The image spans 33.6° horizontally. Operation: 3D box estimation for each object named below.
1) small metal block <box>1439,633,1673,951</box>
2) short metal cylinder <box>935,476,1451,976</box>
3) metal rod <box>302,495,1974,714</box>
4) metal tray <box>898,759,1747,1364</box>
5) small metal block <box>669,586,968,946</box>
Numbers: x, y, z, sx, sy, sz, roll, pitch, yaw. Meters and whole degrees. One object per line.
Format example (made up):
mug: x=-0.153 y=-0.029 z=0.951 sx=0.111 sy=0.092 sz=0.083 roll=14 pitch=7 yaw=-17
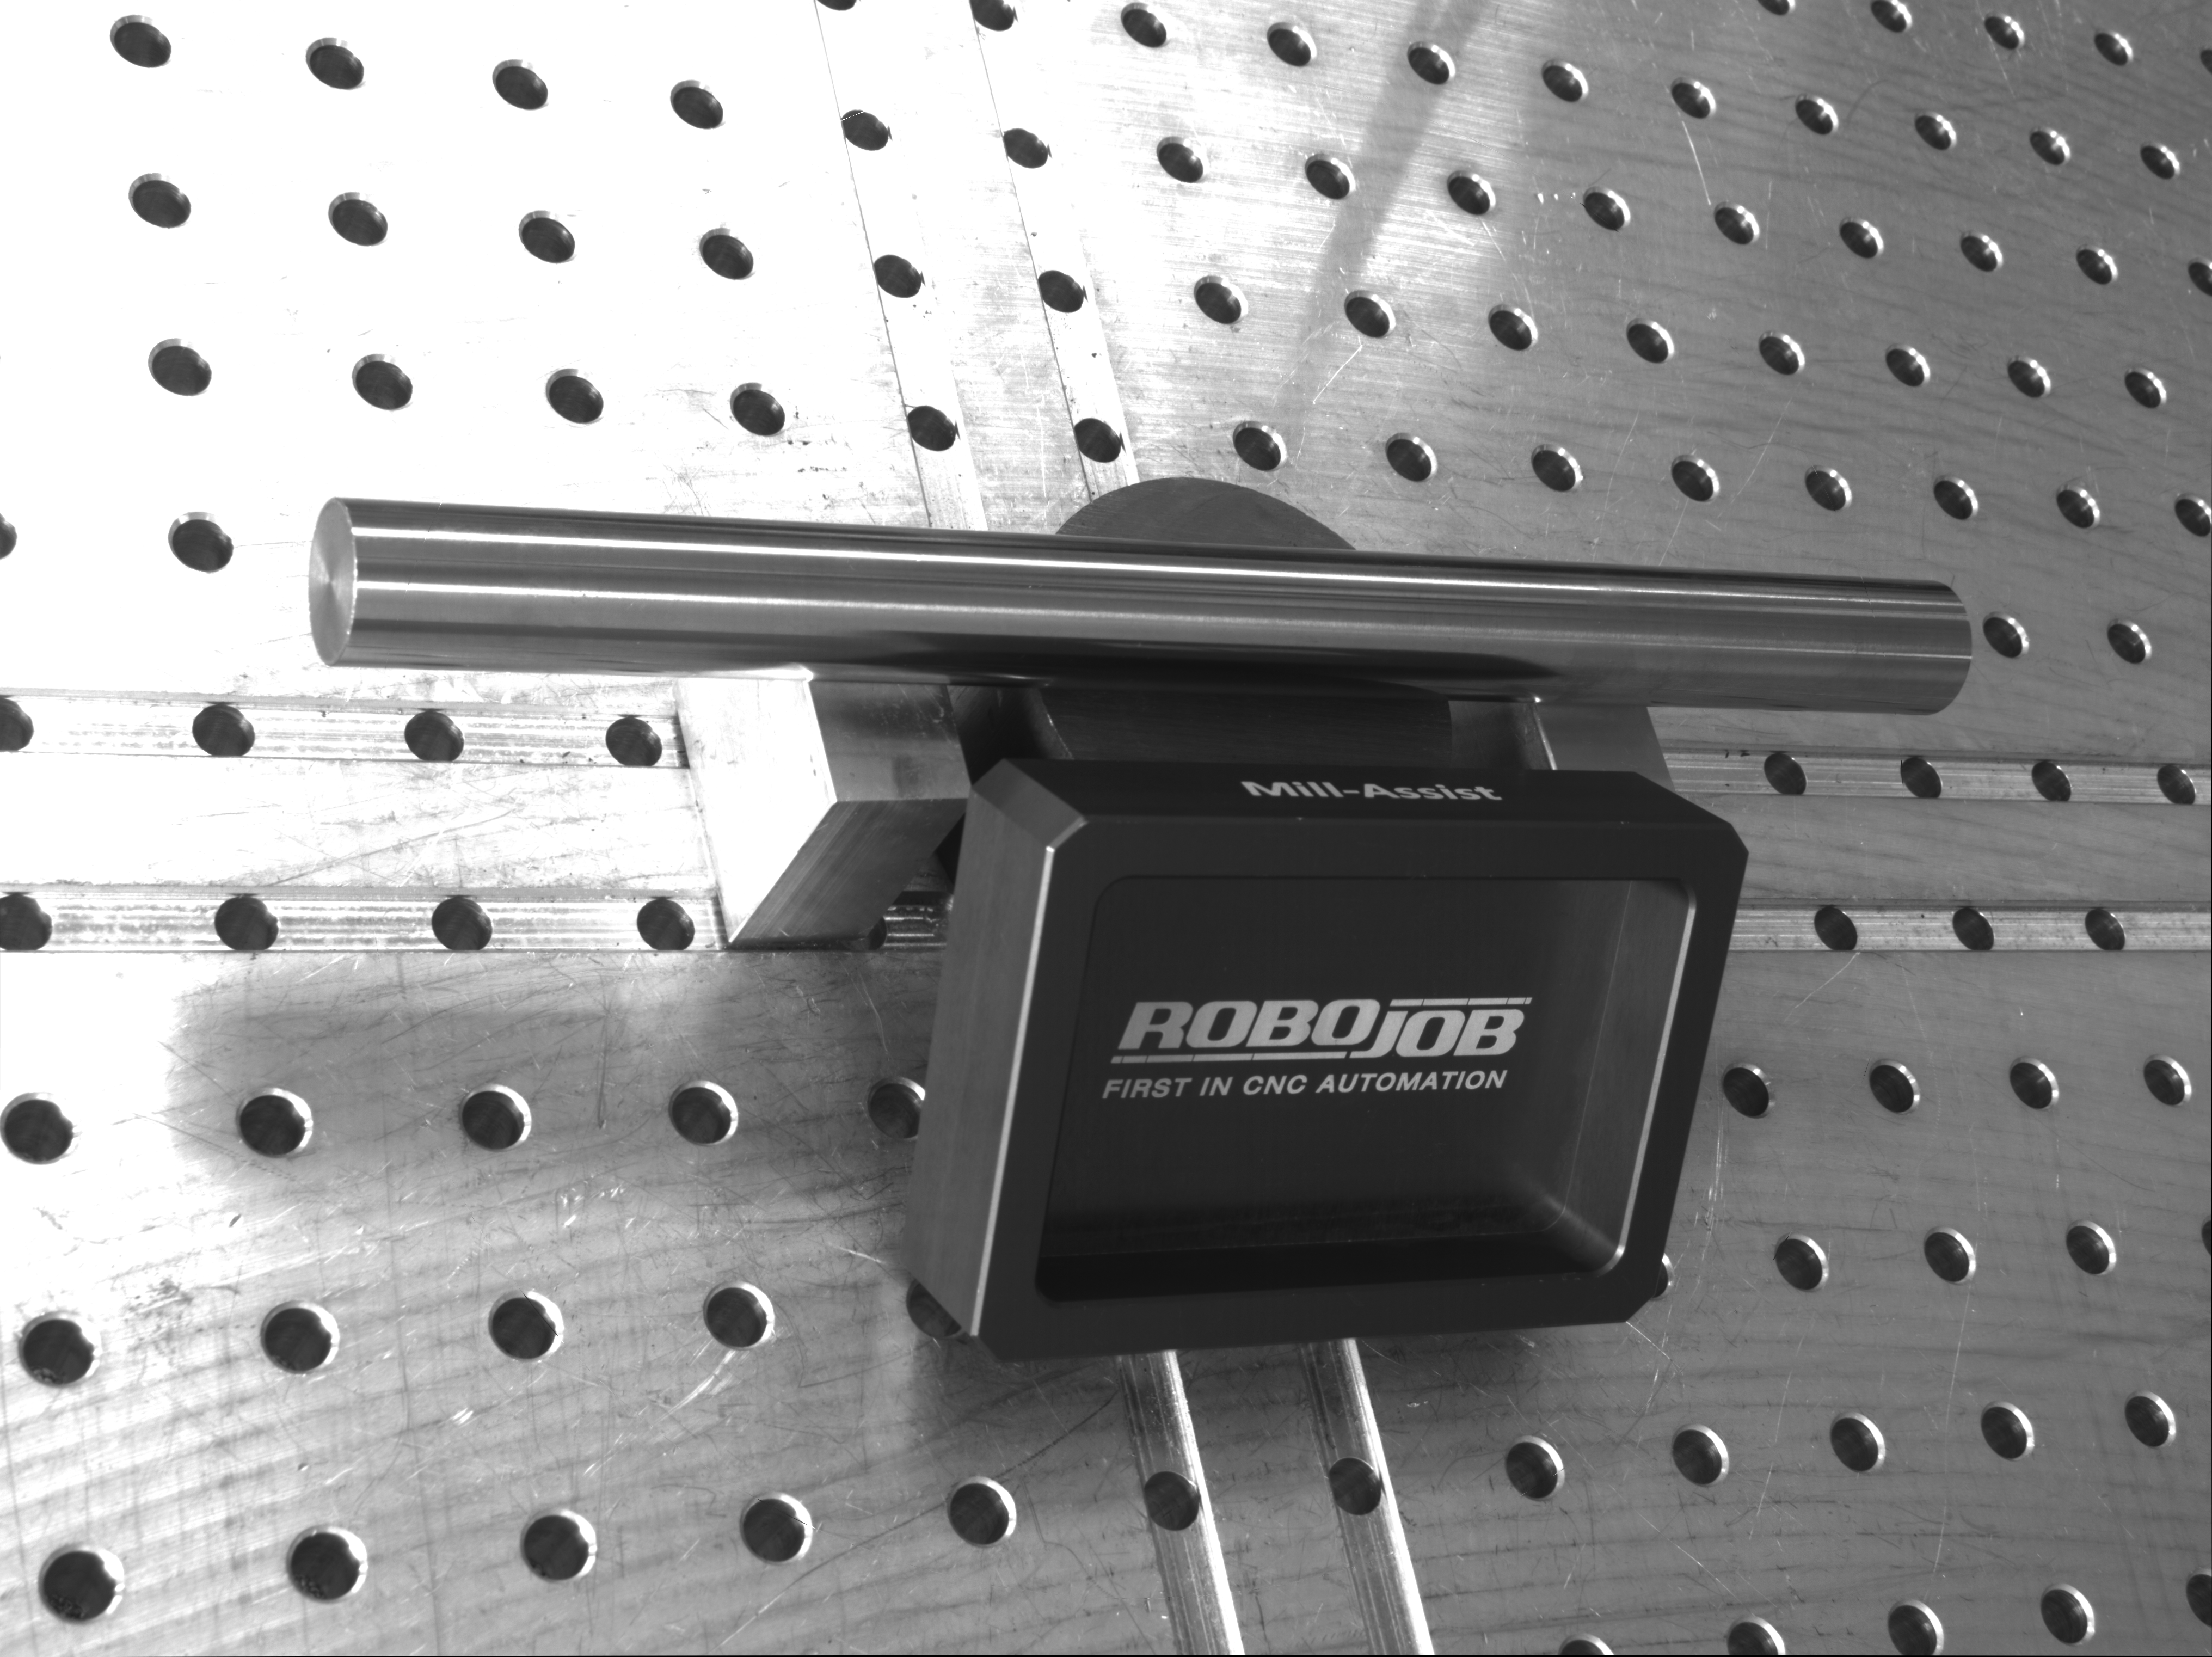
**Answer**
small metal block: x=0.075 y=-0.011 z=0.673 sx=0.025 sy=0.050 sz=0.050 roll=-1 pitch=62 yaw=-28
short metal cylinder: x=0.013 y=-0.014 z=0.641 sx=0.080 sy=0.050 sz=0.080 roll=14 pitch=56 yaw=-21
metal rod: x=0.019 y=-0.035 z=0.609 sx=0.301 sy=0.025 sz=0.025 roll=1 pitch=61 yaw=-27
metal tray: x=0.036 y=0.037 z=0.600 sx=0.130 sy=0.090 sz=0.030 roll=1 pitch=18 yaw=-28
small metal block: x=-0.048 y=-0.014 z=0.609 sx=0.025 sy=0.050 sz=0.050 roll=-1 pitch=62 yaw=-28
